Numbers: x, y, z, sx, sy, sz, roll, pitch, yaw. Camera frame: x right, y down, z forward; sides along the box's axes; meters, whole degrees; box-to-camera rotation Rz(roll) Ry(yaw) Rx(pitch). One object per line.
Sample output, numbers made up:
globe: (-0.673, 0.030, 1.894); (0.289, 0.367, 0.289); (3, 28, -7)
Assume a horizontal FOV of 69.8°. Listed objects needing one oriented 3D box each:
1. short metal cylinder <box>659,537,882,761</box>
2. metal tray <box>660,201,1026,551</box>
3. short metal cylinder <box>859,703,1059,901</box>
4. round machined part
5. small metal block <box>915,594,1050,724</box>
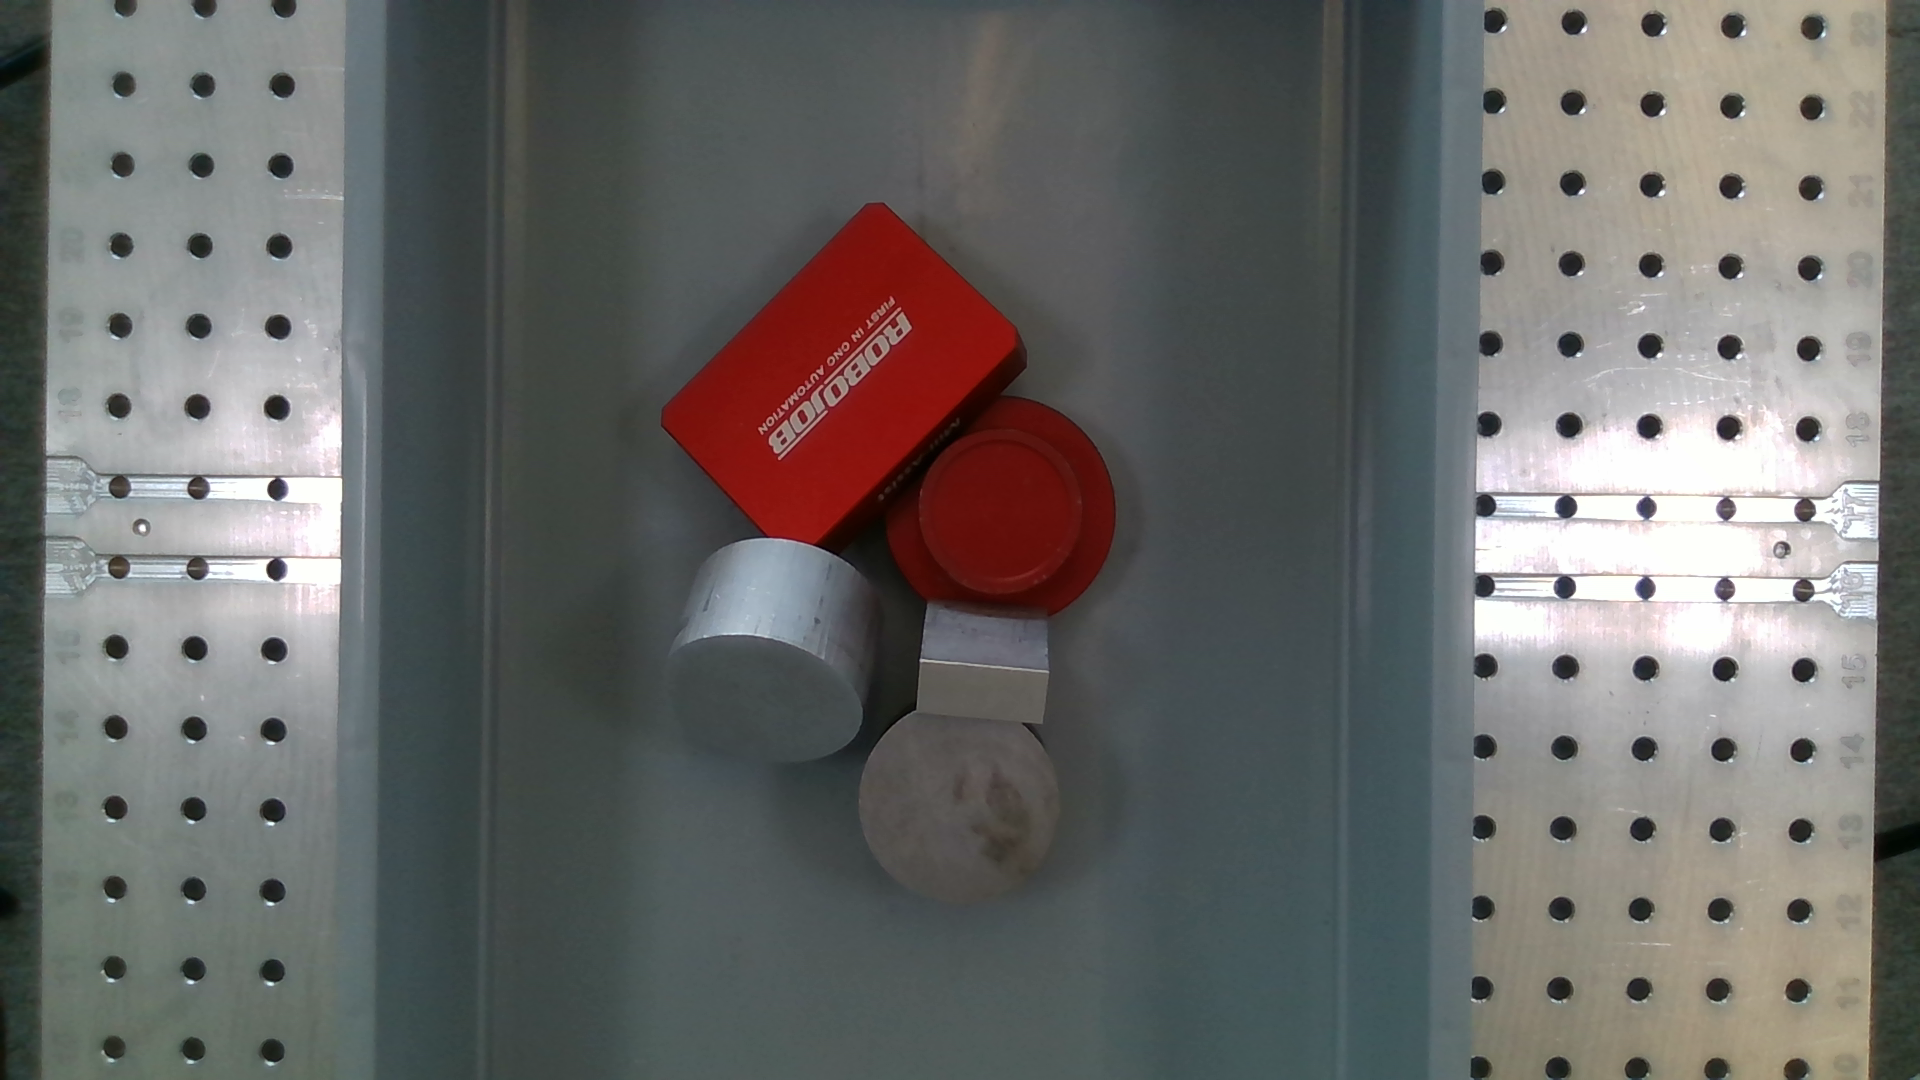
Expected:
short metal cylinder: (-0.075, 0.045, 0.553); (0.080, 0.080, 0.050); (10, 47, 0)
metal tray: (-0.048, -0.064, 0.571); (0.130, 0.030, 0.090); (-45, 75, 1)
short metal cylinder: (-0.001, 0.104, 0.575); (0.080, 0.050, 0.080); (0, 90, 0)
round machined part: (0.017, -0.012, 0.577); (0.098, 0.042, 0.098); (0, 91, 0)
small metal block: (0.009, 0.047, 0.556); (0.050, 0.050, 0.025); (5, 118, -1)
